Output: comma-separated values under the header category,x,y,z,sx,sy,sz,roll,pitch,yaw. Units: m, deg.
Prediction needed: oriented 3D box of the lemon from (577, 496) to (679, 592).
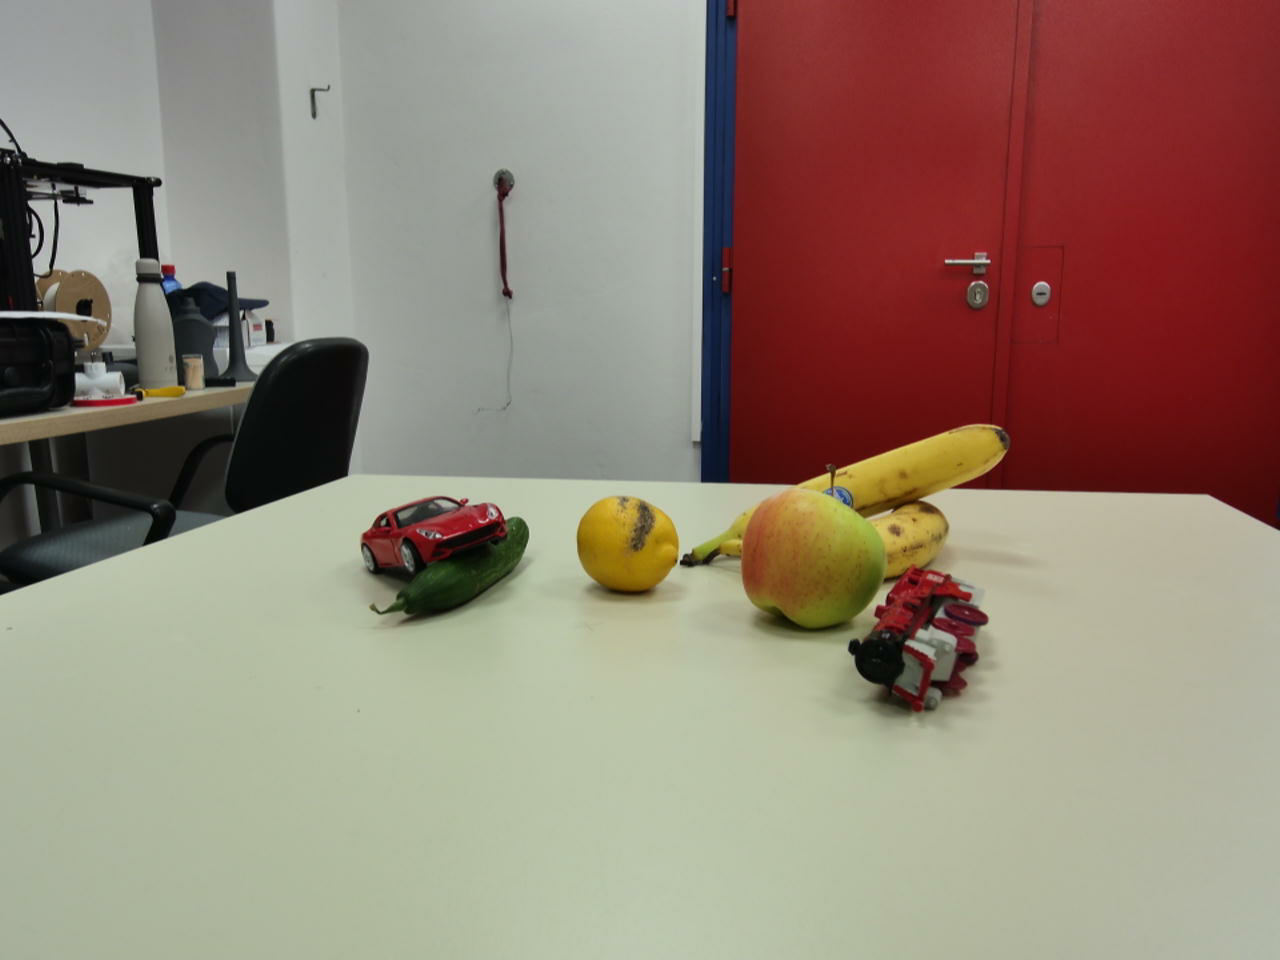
category,x,y,z,sx,sy,sz,roll,pitch,yaw
lemon,-0.007,0.038,0.597,0.061,0.056,0.058,2,8,3
